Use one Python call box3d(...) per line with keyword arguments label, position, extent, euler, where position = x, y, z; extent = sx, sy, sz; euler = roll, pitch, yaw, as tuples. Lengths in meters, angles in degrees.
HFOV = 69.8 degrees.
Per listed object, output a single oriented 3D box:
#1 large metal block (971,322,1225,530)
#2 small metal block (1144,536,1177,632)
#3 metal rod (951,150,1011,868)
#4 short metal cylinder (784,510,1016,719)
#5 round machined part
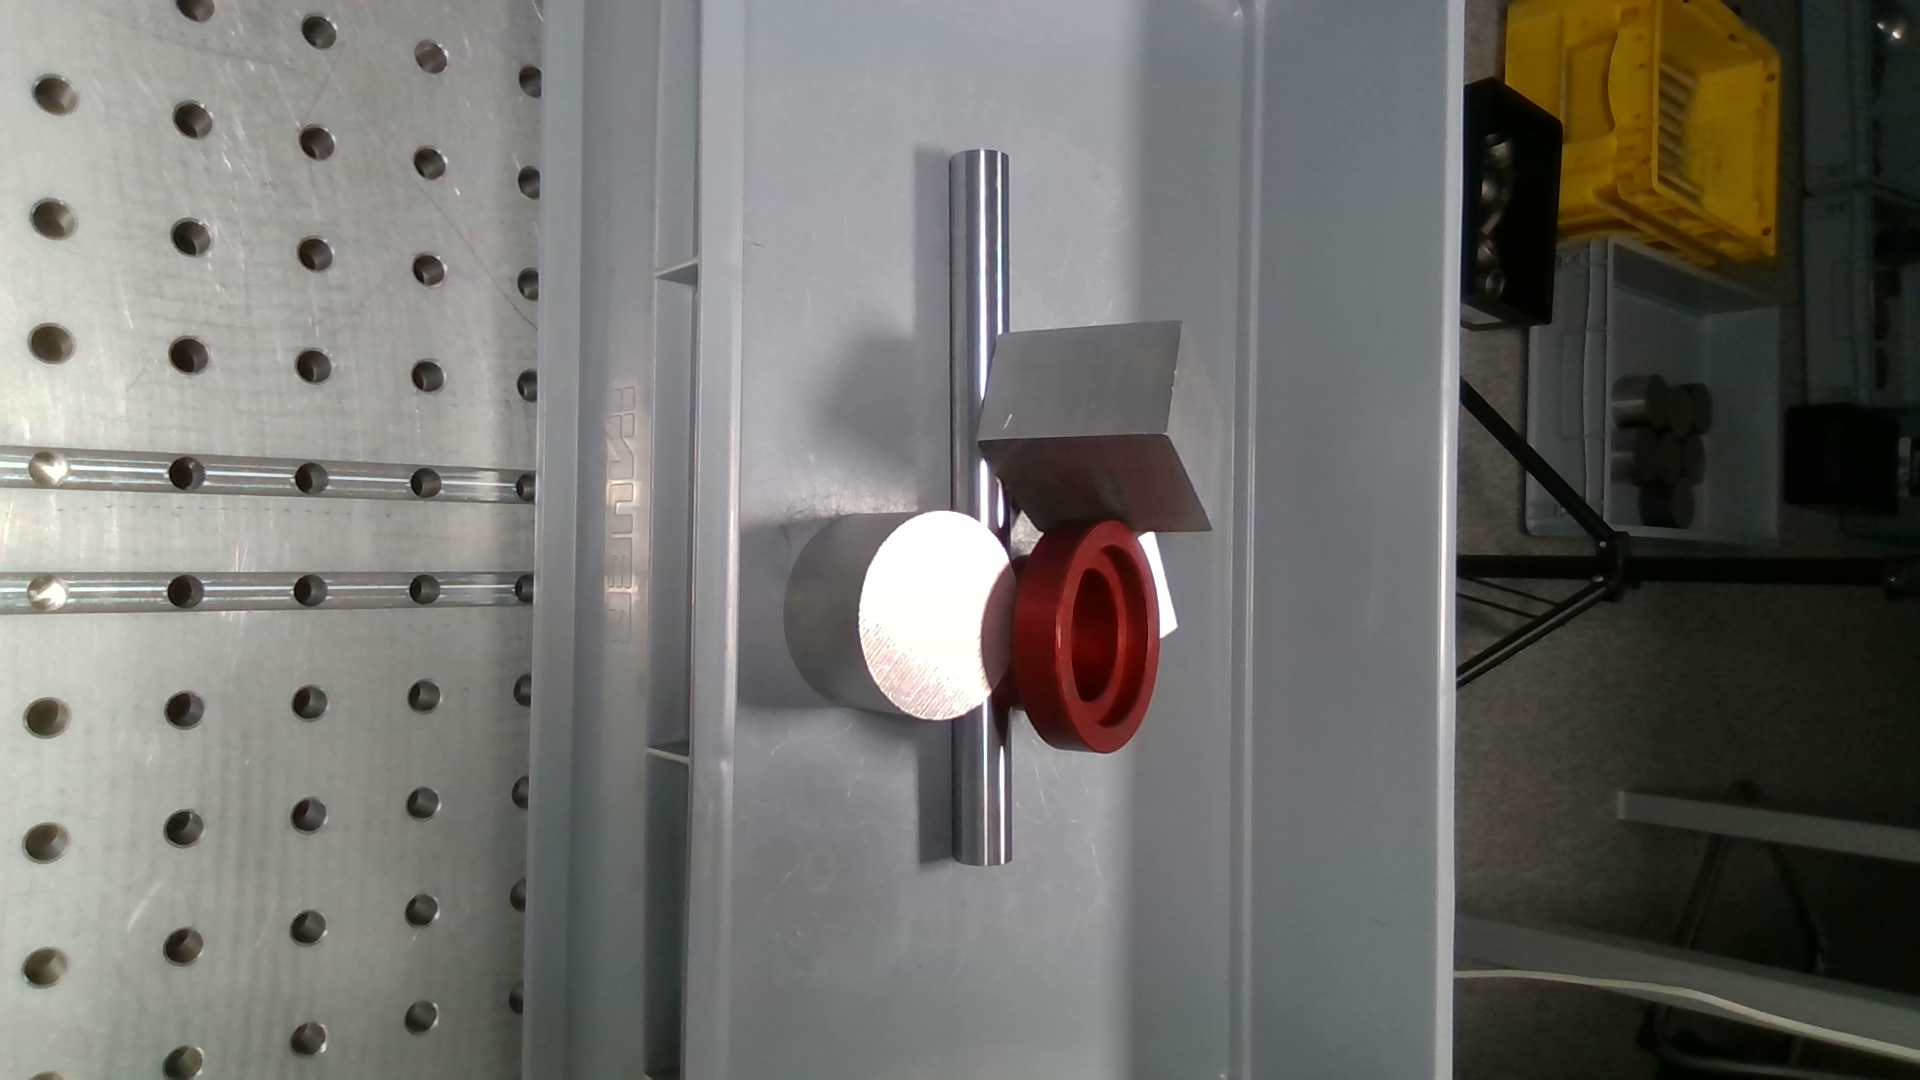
box3d(label="large metal block", position=(0.060, -0.045, 0.578), extent=(0.080, 0.080, 0.050), euler=(51, 45, -54))
box3d(label="small metal block", position=(0.070, 0.027, 0.642), extent=(0.050, 0.025, 0.050), euler=(-27, 107, -37))
box3d(label="metal rod", position=(0.009, -0.013, 0.587), extent=(0.025, 0.025, 0.300), euler=(0, 90, -40))
box3d(label="short metal cylinder", position=(-0.022, 0.029, 0.545), extent=(0.080, 0.050, 0.080), euler=(0, 90, -40))
box3d(label="round machined part", position=(0.046, 0.040, 0.585), extent=(0.098, 0.042, 0.098), euler=(1, 88, -58))
